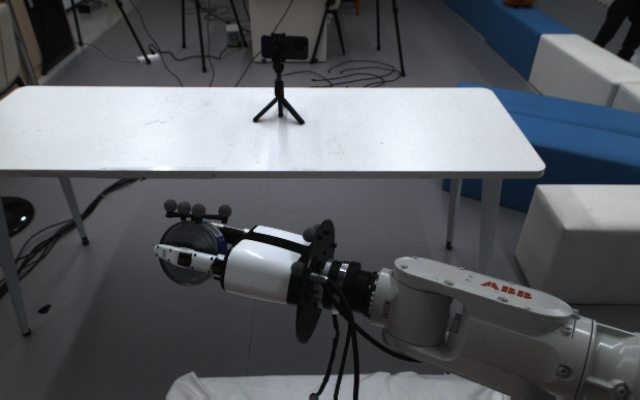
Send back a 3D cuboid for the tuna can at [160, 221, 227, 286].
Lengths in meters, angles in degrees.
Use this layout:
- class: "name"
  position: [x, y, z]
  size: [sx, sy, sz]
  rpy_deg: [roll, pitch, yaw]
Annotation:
- class: "tuna can"
  position: [-0.167, 0.069, 0.643]
  size: [0.085, 0.085, 0.034]
  rpy_deg: [11, 3, 13]
